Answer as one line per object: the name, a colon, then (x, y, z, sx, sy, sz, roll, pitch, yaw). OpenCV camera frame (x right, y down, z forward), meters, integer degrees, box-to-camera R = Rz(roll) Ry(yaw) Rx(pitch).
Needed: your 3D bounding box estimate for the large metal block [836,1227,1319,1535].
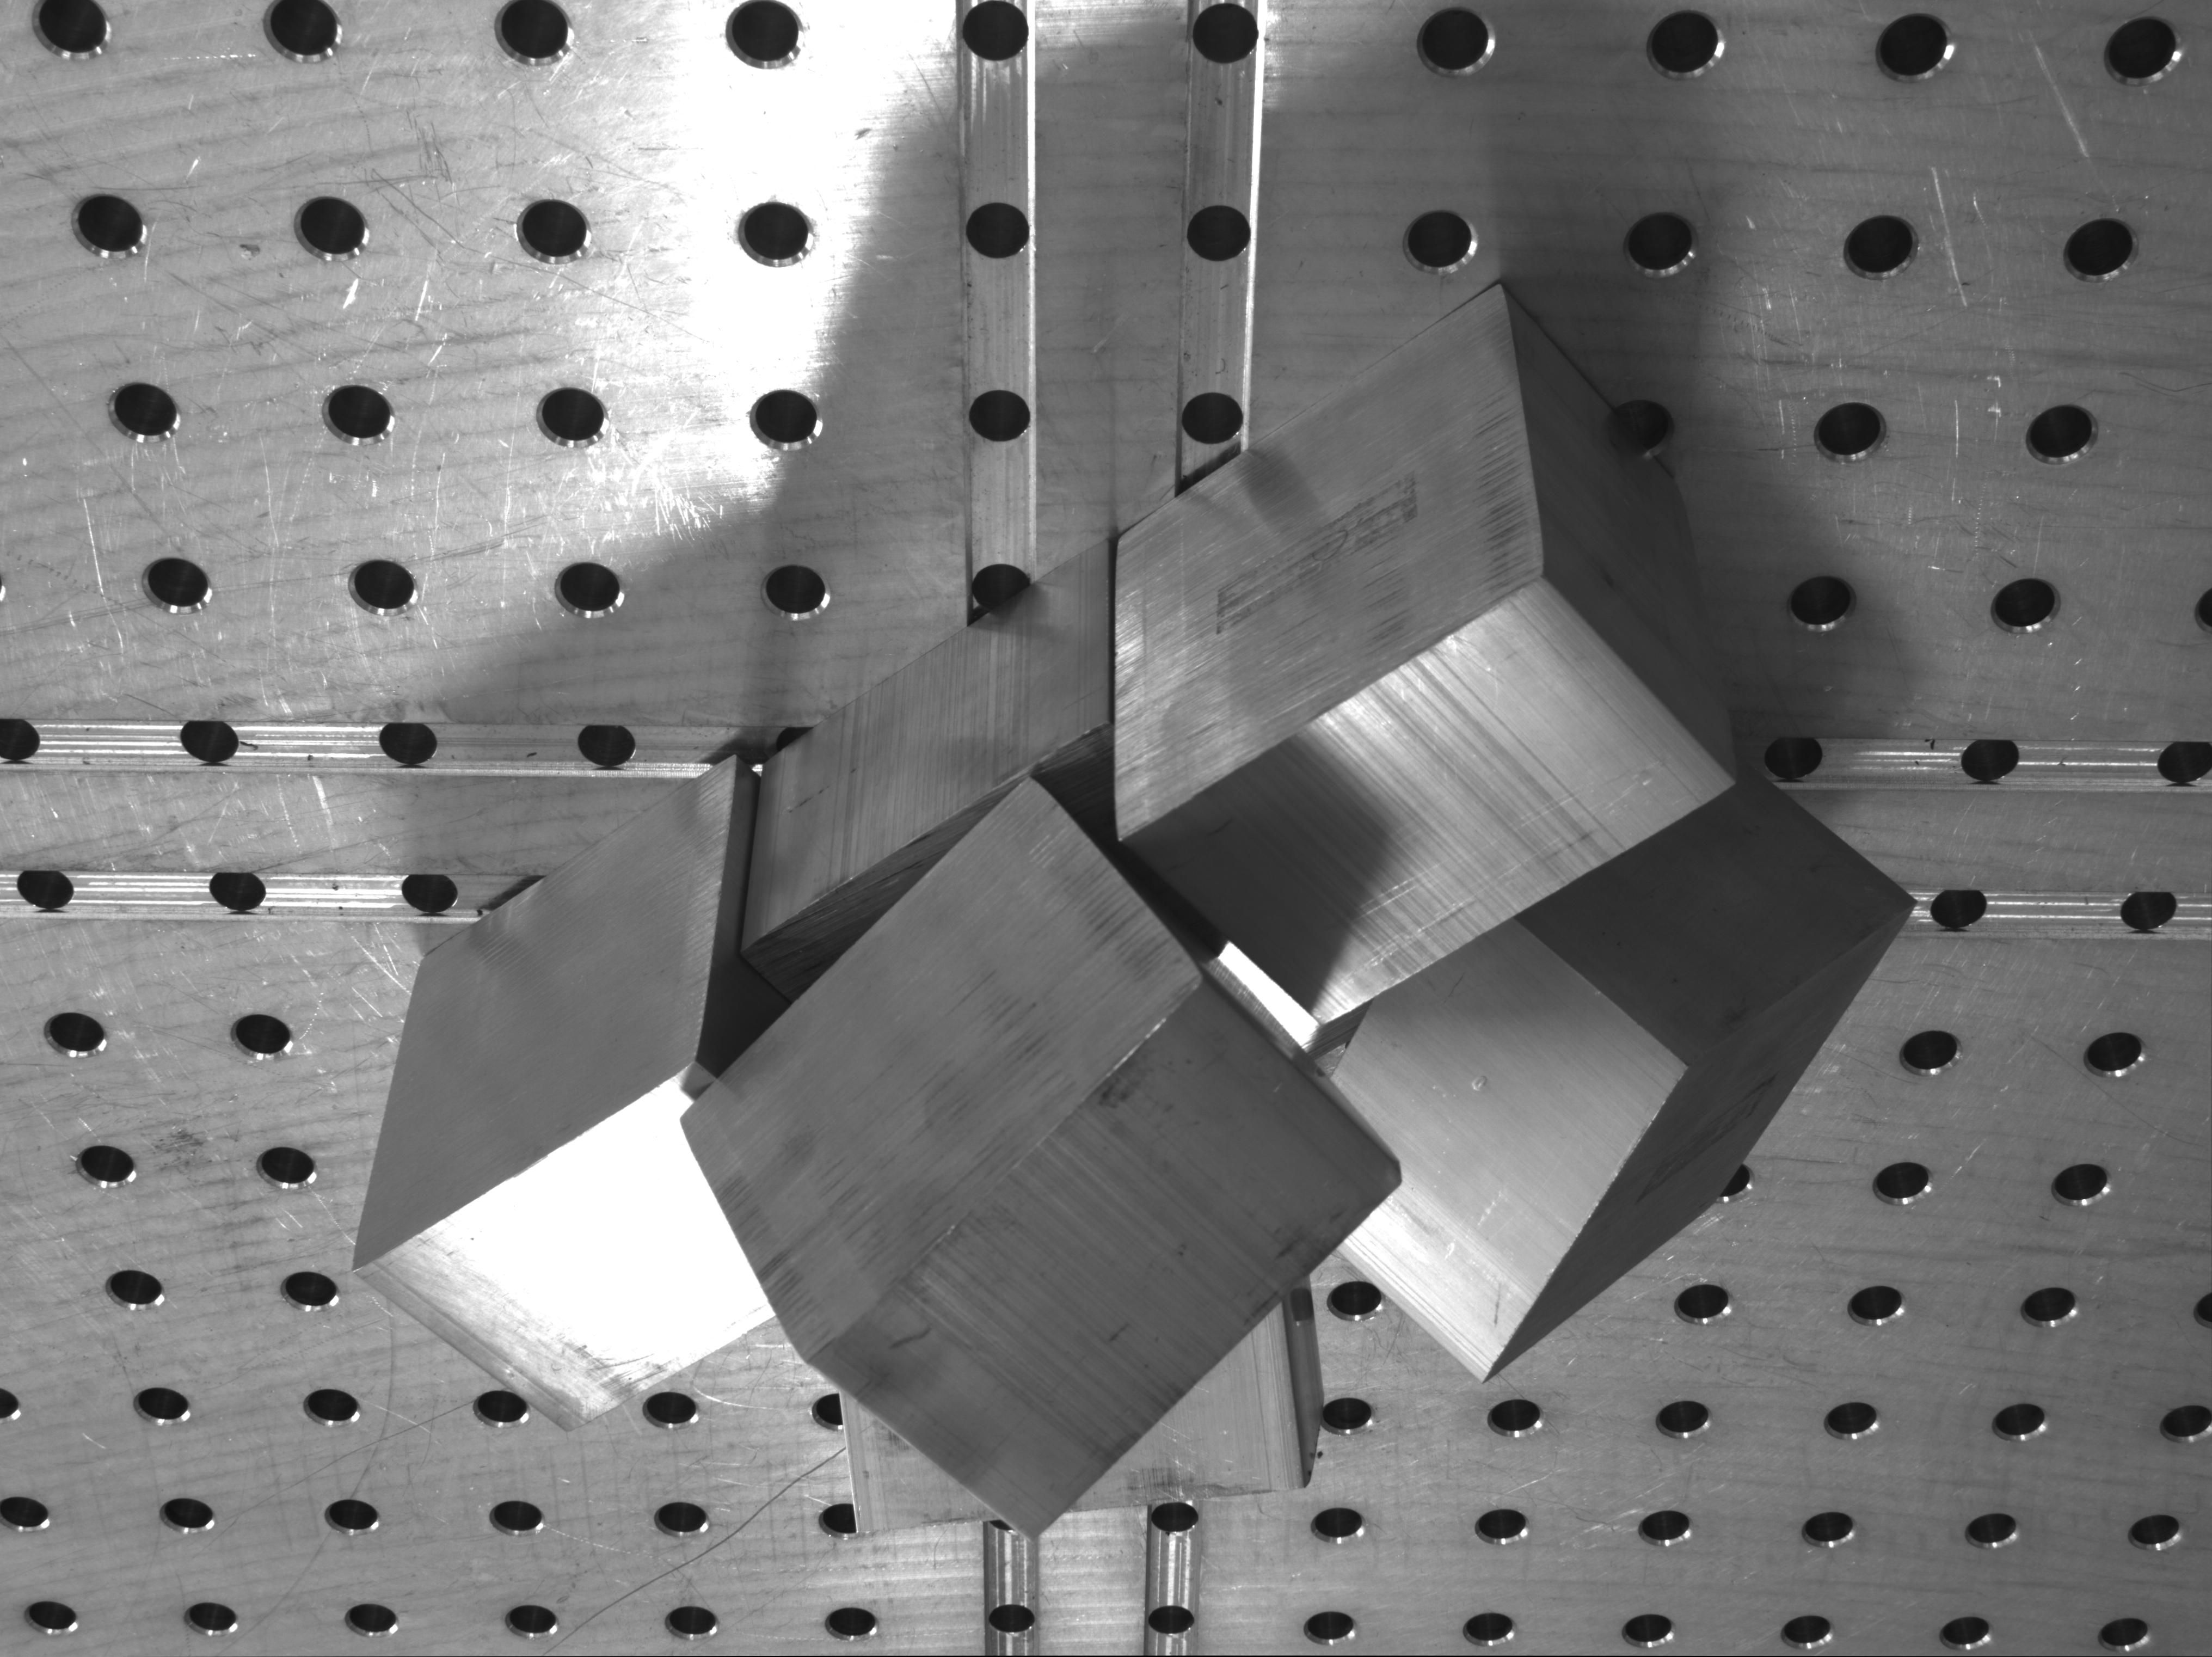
large metal block: (-0.004, 0.091, 0.674, 0.080, 0.080, 0.050, -7, 93, 6)

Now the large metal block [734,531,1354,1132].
large metal block: (-0.006, 0.009, 0.636, 0.080, 0.050, 0.080, -32, 123, 24)

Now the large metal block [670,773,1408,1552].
large metal block: (-0.013, 0.049, 0.566, 0.080, 0.080, 0.050, -44, 120, 2)

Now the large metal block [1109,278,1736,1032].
large metal block: (0.047, -0.028, 0.584, 0.080, 0.080, 0.050, -32, 123, 24)

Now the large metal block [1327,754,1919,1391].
large metal block: (0.082, 0.038, 0.630, 0.050, 0.080, 0.080, 41, 130, 20)

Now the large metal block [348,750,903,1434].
large metal block: (-0.080, 0.046, 0.644, 0.080, 0.080, 0.050, -31, 123, 23)
